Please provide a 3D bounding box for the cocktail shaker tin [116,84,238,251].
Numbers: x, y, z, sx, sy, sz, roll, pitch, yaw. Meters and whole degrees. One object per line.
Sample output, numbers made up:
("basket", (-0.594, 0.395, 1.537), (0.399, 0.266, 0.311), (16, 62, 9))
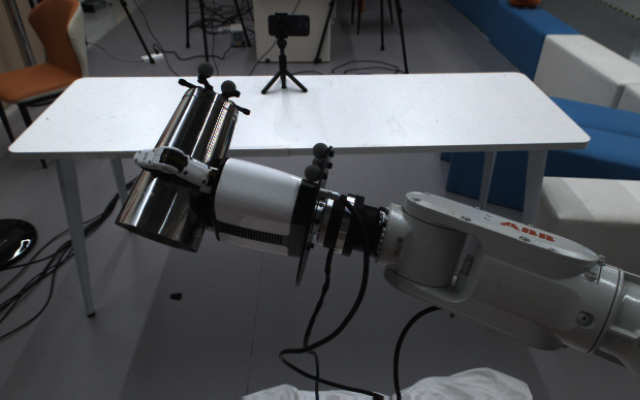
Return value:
("cocktail shaker tin", (-0.153, -0.036, 0.546), (0.093, 0.093, 0.170), (14, 74, 17))
